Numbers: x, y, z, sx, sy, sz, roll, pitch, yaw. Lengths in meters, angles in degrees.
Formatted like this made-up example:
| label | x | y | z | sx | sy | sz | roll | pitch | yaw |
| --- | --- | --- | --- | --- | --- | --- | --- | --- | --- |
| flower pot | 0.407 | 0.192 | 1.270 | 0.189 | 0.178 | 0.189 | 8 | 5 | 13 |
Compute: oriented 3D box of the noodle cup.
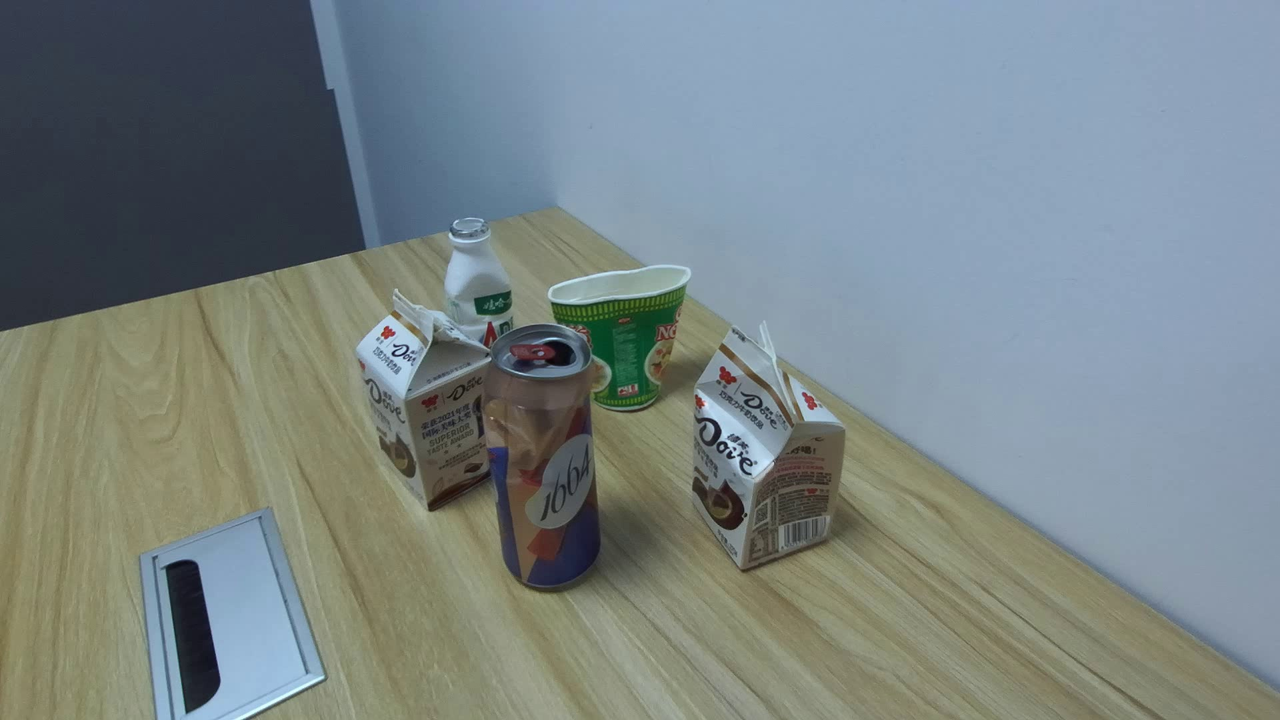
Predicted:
| label | x | y | z | sx | sy | sz | roll | pitch | yaw |
| --- | --- | --- | --- | --- | --- | --- | --- | --- | --- |
| noodle cup | -0.016 | -0.019 | 0.601 | 0.115 | 0.111 | 0.070 | 0 | 34 | 0 |

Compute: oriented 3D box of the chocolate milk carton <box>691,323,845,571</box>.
| label | x | y | z | sx | sy | sz | roll | pitch | yaw |
| --- | --- | --- | --- | --- | --- | --- | --- | --- | --- |
| chocolate milk carton | 0.082 | 0.051 | 0.456 | 0.074 | 0.156 | 0.076 | -15 | 38 | -18 |

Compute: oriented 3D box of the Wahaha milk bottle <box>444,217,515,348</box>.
| label | x | y | z | sx | sy | sz | roll | pitch | yaw |
| --- | --- | --- | --- | --- | --- | --- | --- | --- | --- |
| Wahaha milk bottle | -0.139 | -0.050 | 0.614 | 0.056 | 0.148 | 0.056 | 2 | 35 | -1 |

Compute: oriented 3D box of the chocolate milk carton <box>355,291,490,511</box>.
| label | x | y | z | sx | sy | sz | roll | pitch | yaw |
| --- | --- | --- | --- | --- | --- | --- | --- | --- | --- |
| chocolate milk carton | -0.146 | 0.022 | 0.505 | 0.074 | 0.148 | 0.075 | -27 | 43 | -31 |

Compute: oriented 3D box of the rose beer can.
| label | x | y | z | sx | sy | sz | roll | pitch | yaw |
| --- | --- | --- | --- | --- | --- | --- | --- | --- | --- |
| rose beer can | -0.056 | 0.064 | 0.433 | 0.065 | 0.167 | 0.076 | 24 | 36 | 27 |
